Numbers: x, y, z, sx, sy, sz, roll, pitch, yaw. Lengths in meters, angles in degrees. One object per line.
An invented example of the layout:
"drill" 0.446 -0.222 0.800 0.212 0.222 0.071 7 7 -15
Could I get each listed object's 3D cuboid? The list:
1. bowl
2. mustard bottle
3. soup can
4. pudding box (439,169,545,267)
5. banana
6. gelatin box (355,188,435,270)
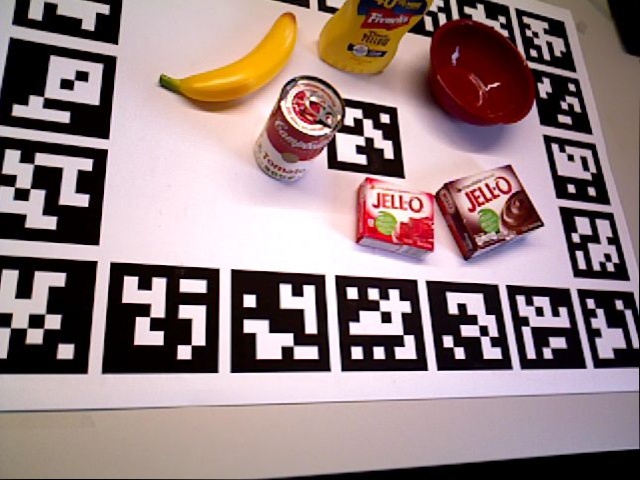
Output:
"bowl" 0.208 -0.205 0.720 0.160 0.056 0.160 7 67 -18
"mustard bottle" 0.079 -0.266 0.596 0.095 0.196 0.058 5 64 -21
"soup can" -0.026 -0.115 0.550 0.067 0.104 0.067 9 64 -21
"pudding box" 0.210 -0.028 0.658 0.111 0.039 0.090 -20 84 -27
"banana" -0.086 -0.208 0.610 0.074 0.040 0.193 38 60 8
"gelatin box" 0.084 -0.012 0.607 0.088 0.031 0.072 11 69 -17
